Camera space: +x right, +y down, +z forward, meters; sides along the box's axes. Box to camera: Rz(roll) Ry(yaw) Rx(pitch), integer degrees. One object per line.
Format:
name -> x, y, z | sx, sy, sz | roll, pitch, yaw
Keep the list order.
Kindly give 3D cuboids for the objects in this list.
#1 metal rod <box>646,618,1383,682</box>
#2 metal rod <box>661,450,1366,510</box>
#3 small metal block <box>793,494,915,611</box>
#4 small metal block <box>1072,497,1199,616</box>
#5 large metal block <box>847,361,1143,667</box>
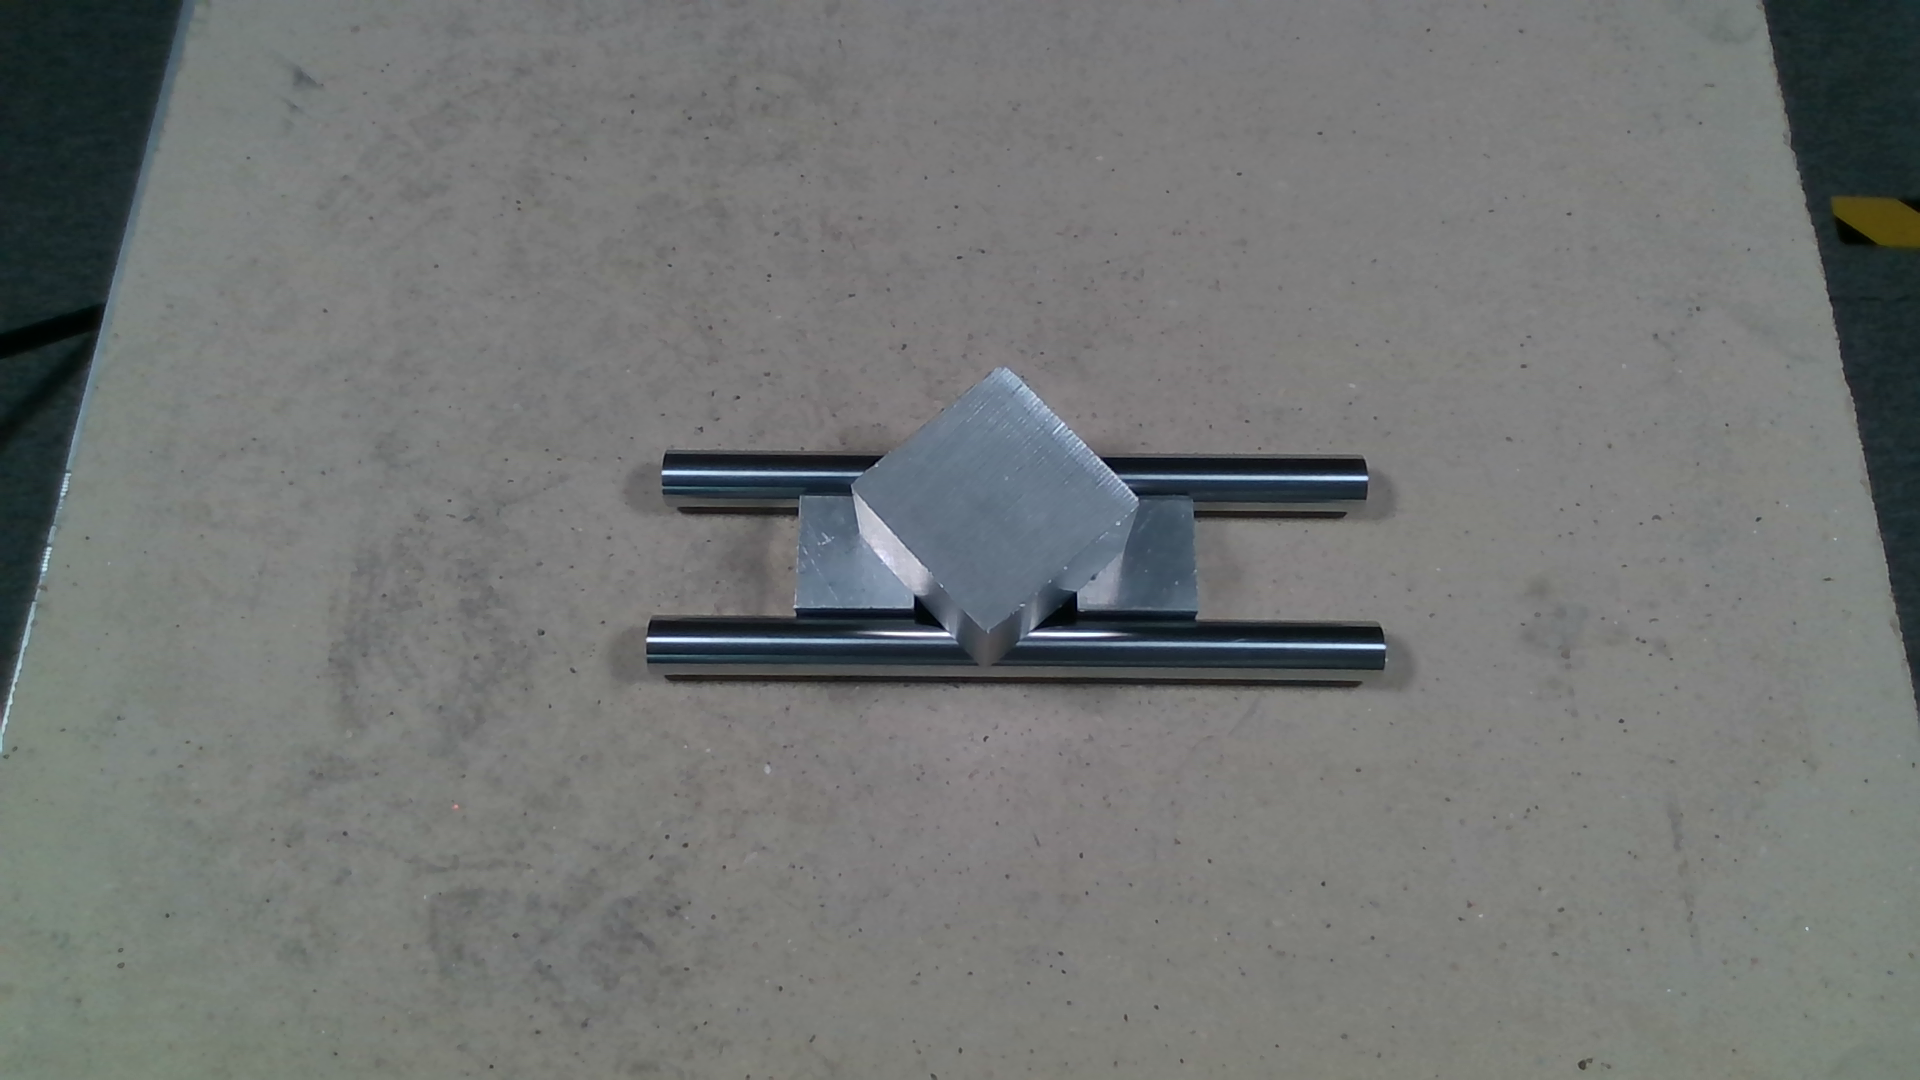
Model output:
metal rod -> 0.022, 0.045, 0.573 | 0.300, 0.025, 0.025 | 0, 70, 0
metal rod -> 0.023, -0.026, 0.598 | 0.300, 0.025, 0.025 | 0, 70, 0
small metal block -> -0.043, 0.008, 0.584 | 0.050, 0.025, 0.050 | 1, 70, 0
small metal block -> 0.073, 0.009, 0.584 | 0.050, 0.025, 0.050 | 1, 70, 0
large metal block -> 0.013, -0.009, 0.550 | 0.080, 0.050, 0.080 | -39, 75, -13
